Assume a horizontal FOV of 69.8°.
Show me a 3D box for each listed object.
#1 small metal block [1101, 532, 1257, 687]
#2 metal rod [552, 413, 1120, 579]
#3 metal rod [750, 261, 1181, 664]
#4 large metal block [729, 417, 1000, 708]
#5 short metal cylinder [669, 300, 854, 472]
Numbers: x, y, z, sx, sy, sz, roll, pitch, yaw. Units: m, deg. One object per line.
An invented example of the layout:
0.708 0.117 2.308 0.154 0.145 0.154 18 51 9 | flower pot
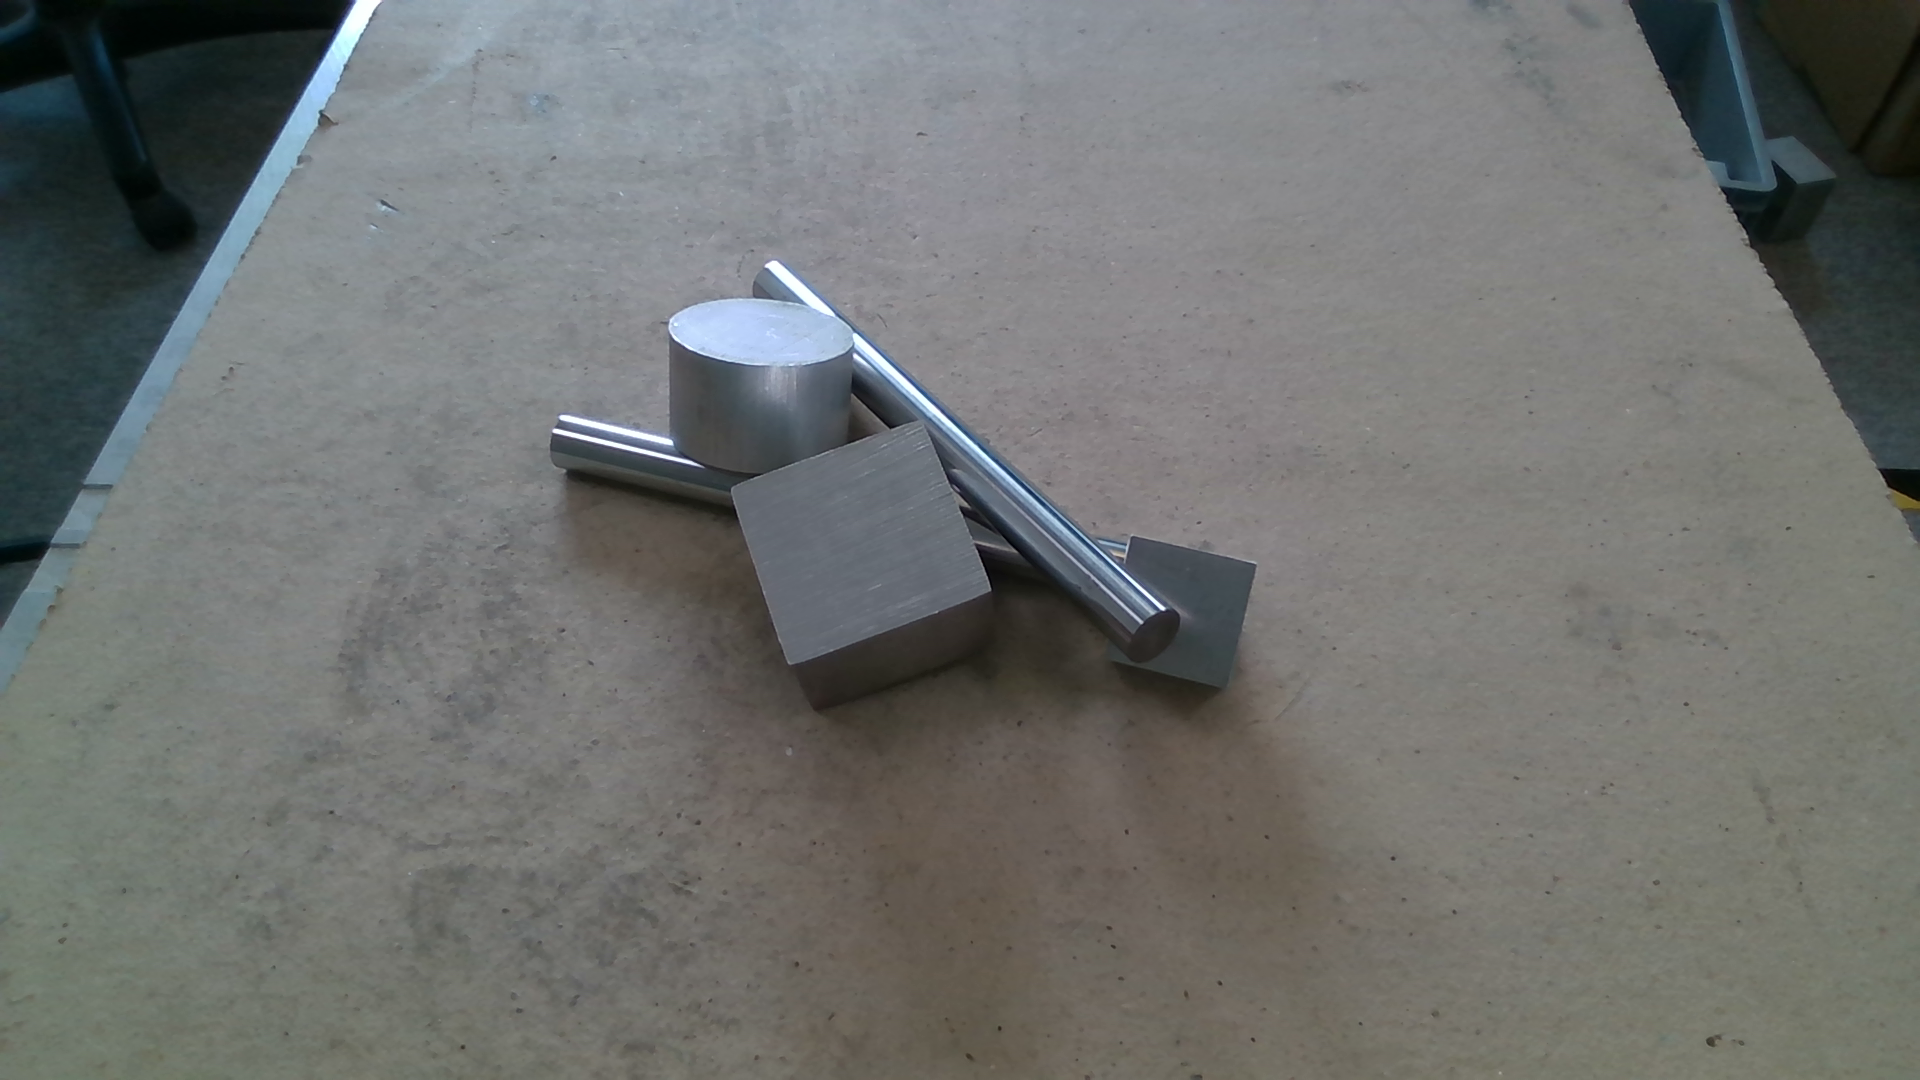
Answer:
0.087 0.027 0.549 0.050 0.025 0.050 13 91 10 | small metal block
-0.035 -0.012 0.597 0.300 0.025 0.025 13 51 11 | metal rod
-0.011 -0.047 0.604 0.025 0.025 0.299 -28 49 -21 | metal rod
-0.037 0.009 0.544 0.080 0.050 0.080 -20 65 -5 | large metal block
-0.089 -0.070 0.613 0.080 0.050 0.080 6 29 -3 | short metal cylinder
